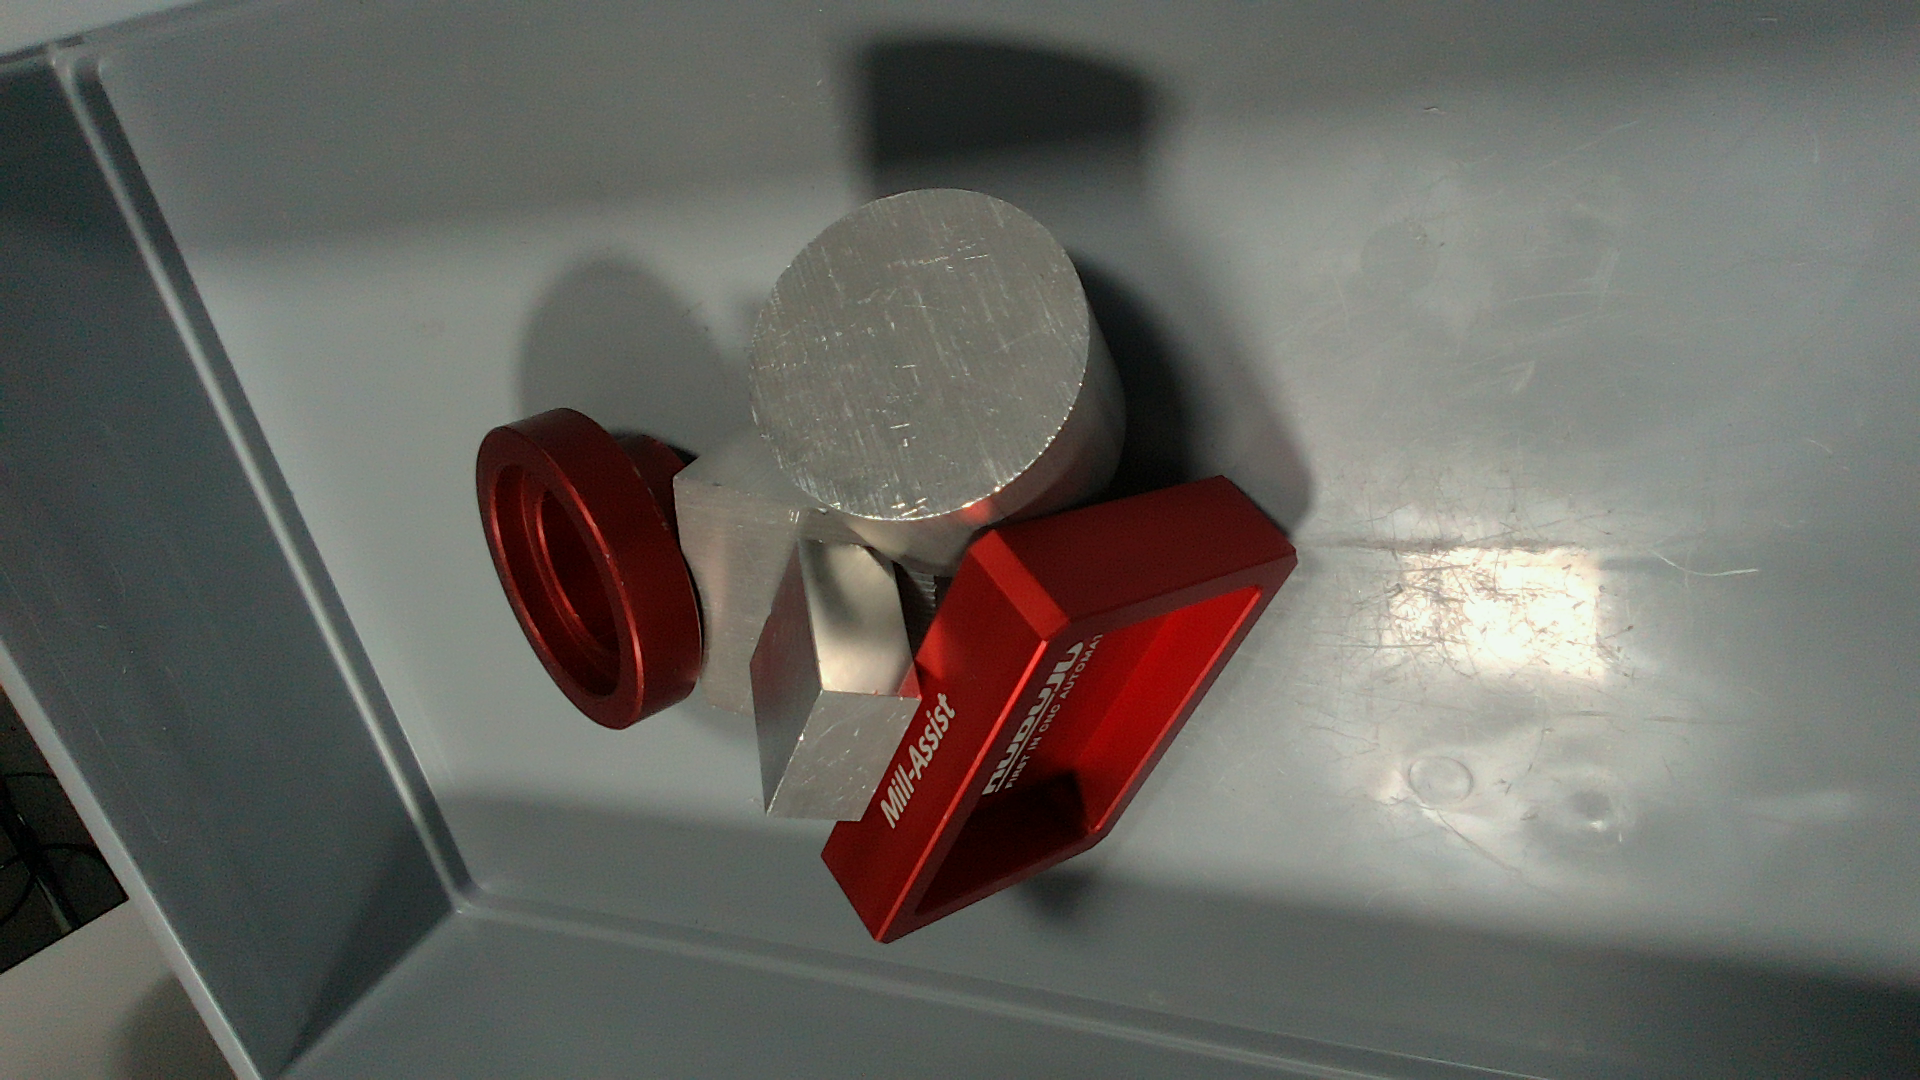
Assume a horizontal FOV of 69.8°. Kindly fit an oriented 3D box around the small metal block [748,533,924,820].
[{"bbox_3d":[-0.033,0.035,0.348,0.025,0.050,0.050,7,133,-22],"label":"small metal block"}]

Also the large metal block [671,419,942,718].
[{"bbox_3d":[-0.032,0.012,0.400,0.080,0.050,0.080,14,124,21],"label":"large metal block"}]

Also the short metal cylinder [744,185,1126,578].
[{"bbox_3d":[-0.004,-0.036,0.328,0.080,0.080,0.050,15,169,20],"label":"short metal cylinder"}]

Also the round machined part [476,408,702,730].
[{"bbox_3d":[-0.107,0.006,0.426,0.098,0.042,0.098,31,134,39],"label":"round machined part"}]

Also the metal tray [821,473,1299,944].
[{"bbox_3d":[0.024,0.046,0.363,0.030,0.090,0.130,50,134,29],"label":"metal tray"}]
